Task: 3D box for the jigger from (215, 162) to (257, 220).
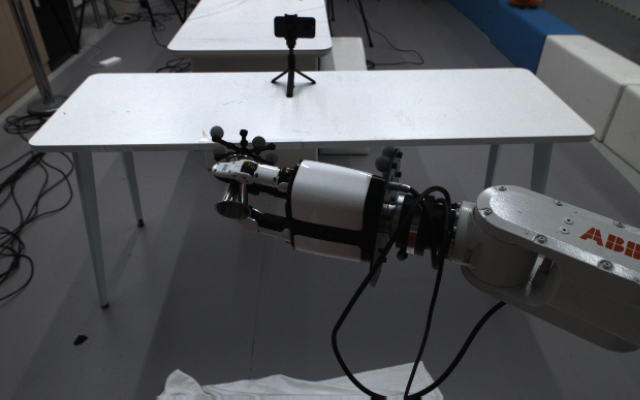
[{"bbox_3d":[-0.101,-0.018,0.589,0.043,0.043,0.071,4,60,2],"label":"jigger"}]
